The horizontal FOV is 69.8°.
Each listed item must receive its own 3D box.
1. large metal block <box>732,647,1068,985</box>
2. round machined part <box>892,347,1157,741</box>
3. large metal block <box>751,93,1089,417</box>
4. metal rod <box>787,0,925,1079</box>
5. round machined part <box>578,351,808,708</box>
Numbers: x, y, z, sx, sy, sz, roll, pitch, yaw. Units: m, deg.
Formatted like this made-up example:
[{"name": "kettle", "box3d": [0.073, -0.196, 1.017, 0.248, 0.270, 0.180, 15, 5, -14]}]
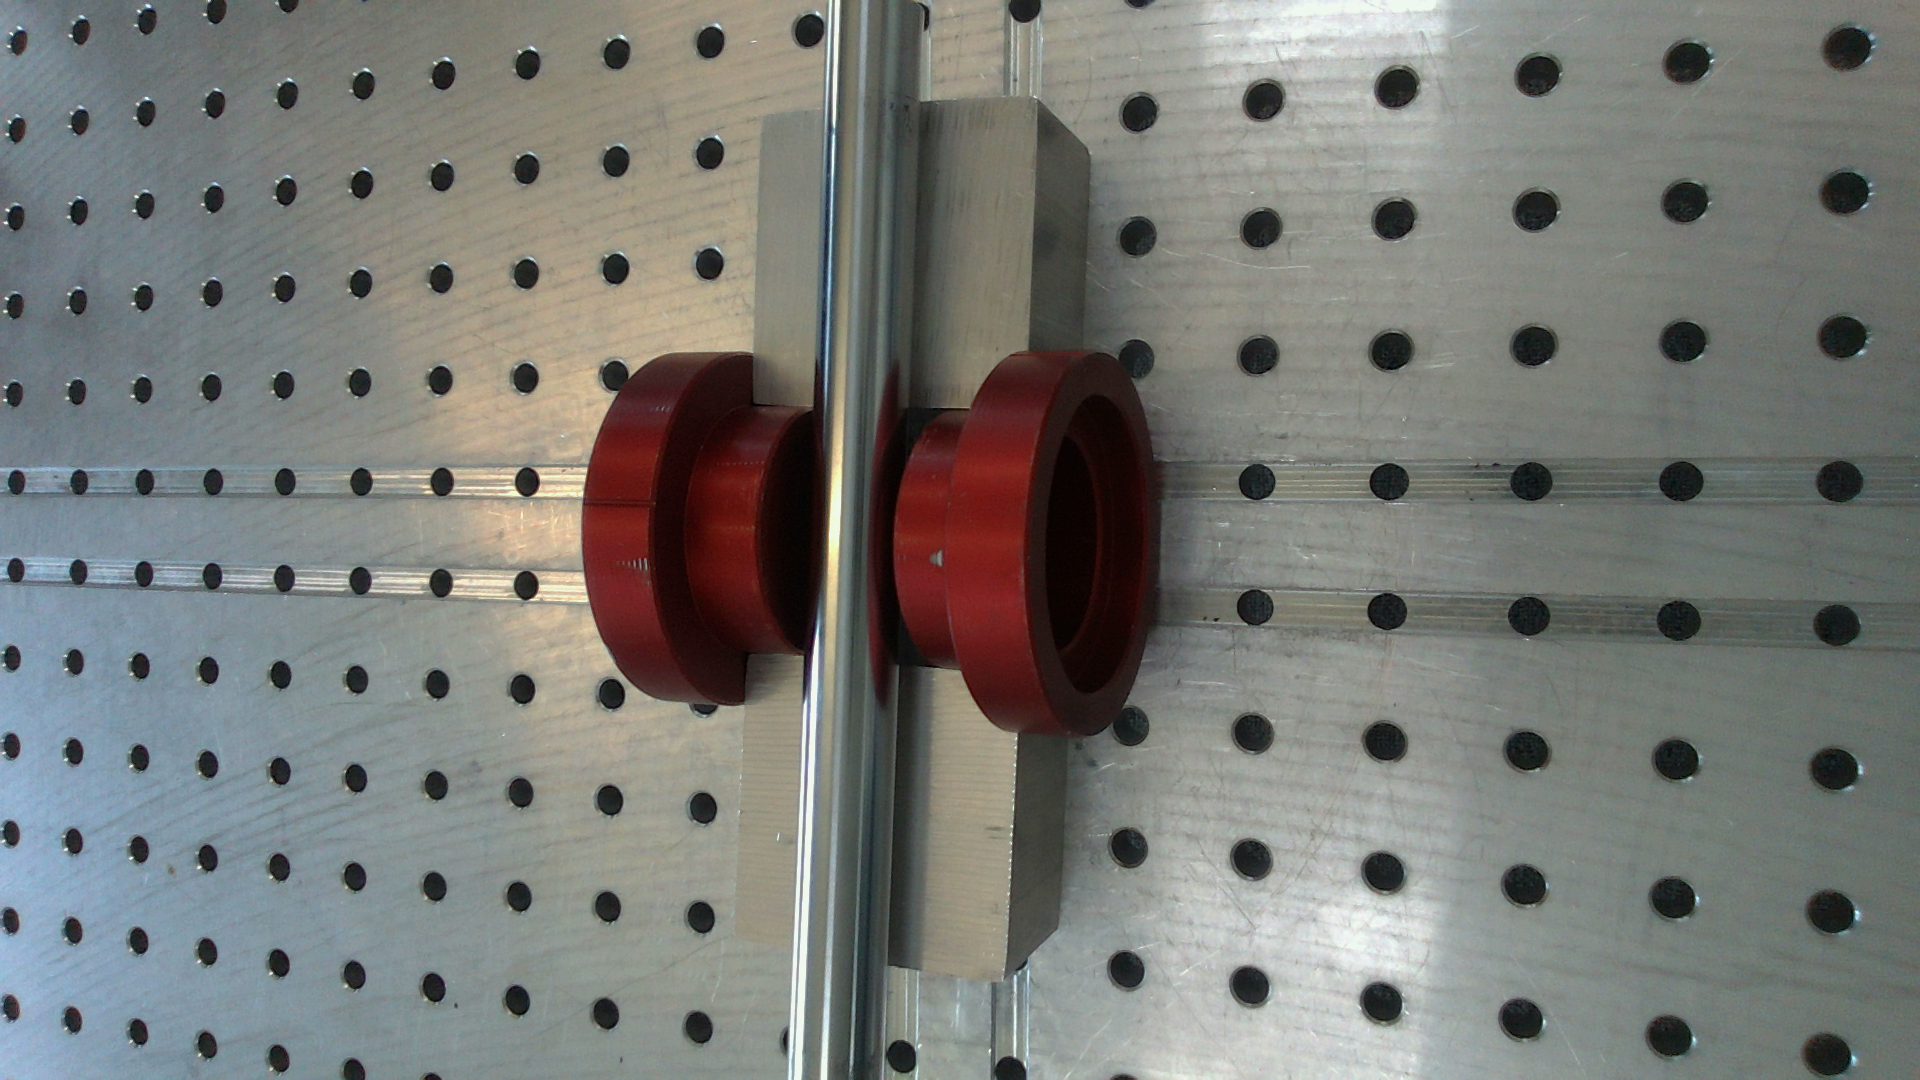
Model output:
[{"name": "large metal block", "box3d": [-0.015, 0.073, 0.390, 0.080, 0.050, 0.080, 3, 91, 20]}, {"name": "round machined part", "box3d": [0.017, 0.000, 0.353, 0.042, 0.098, 0.098, 2, 91, 25]}, {"name": "large metal block", "box3d": [-0.010, -0.075, 0.388, 0.080, 0.050, 0.080, 2, 91, 20]}, {"name": "metal rod", "box3d": [-0.027, 0.014, 0.355, 0.025, 0.025, 0.300, 3, 91, 20]}, {"name": "round machined part", "box3d": [-0.059, -0.003, 0.380, 0.042, 0.098, 0.098, 2, 91, 20]}]
